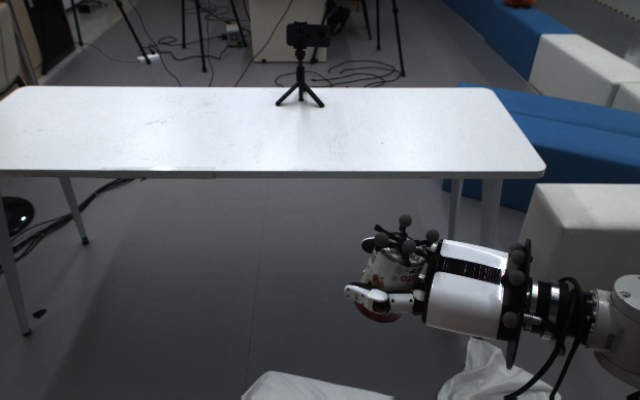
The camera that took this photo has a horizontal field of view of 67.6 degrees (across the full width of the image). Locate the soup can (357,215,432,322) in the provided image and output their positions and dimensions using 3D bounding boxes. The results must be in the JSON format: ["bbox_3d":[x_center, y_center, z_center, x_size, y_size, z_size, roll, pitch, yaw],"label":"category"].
[{"bbox_3d":[0.092,0.101,0.632,0.067,0.101,0.067,13,30,-8],"label":"soup can"}]
